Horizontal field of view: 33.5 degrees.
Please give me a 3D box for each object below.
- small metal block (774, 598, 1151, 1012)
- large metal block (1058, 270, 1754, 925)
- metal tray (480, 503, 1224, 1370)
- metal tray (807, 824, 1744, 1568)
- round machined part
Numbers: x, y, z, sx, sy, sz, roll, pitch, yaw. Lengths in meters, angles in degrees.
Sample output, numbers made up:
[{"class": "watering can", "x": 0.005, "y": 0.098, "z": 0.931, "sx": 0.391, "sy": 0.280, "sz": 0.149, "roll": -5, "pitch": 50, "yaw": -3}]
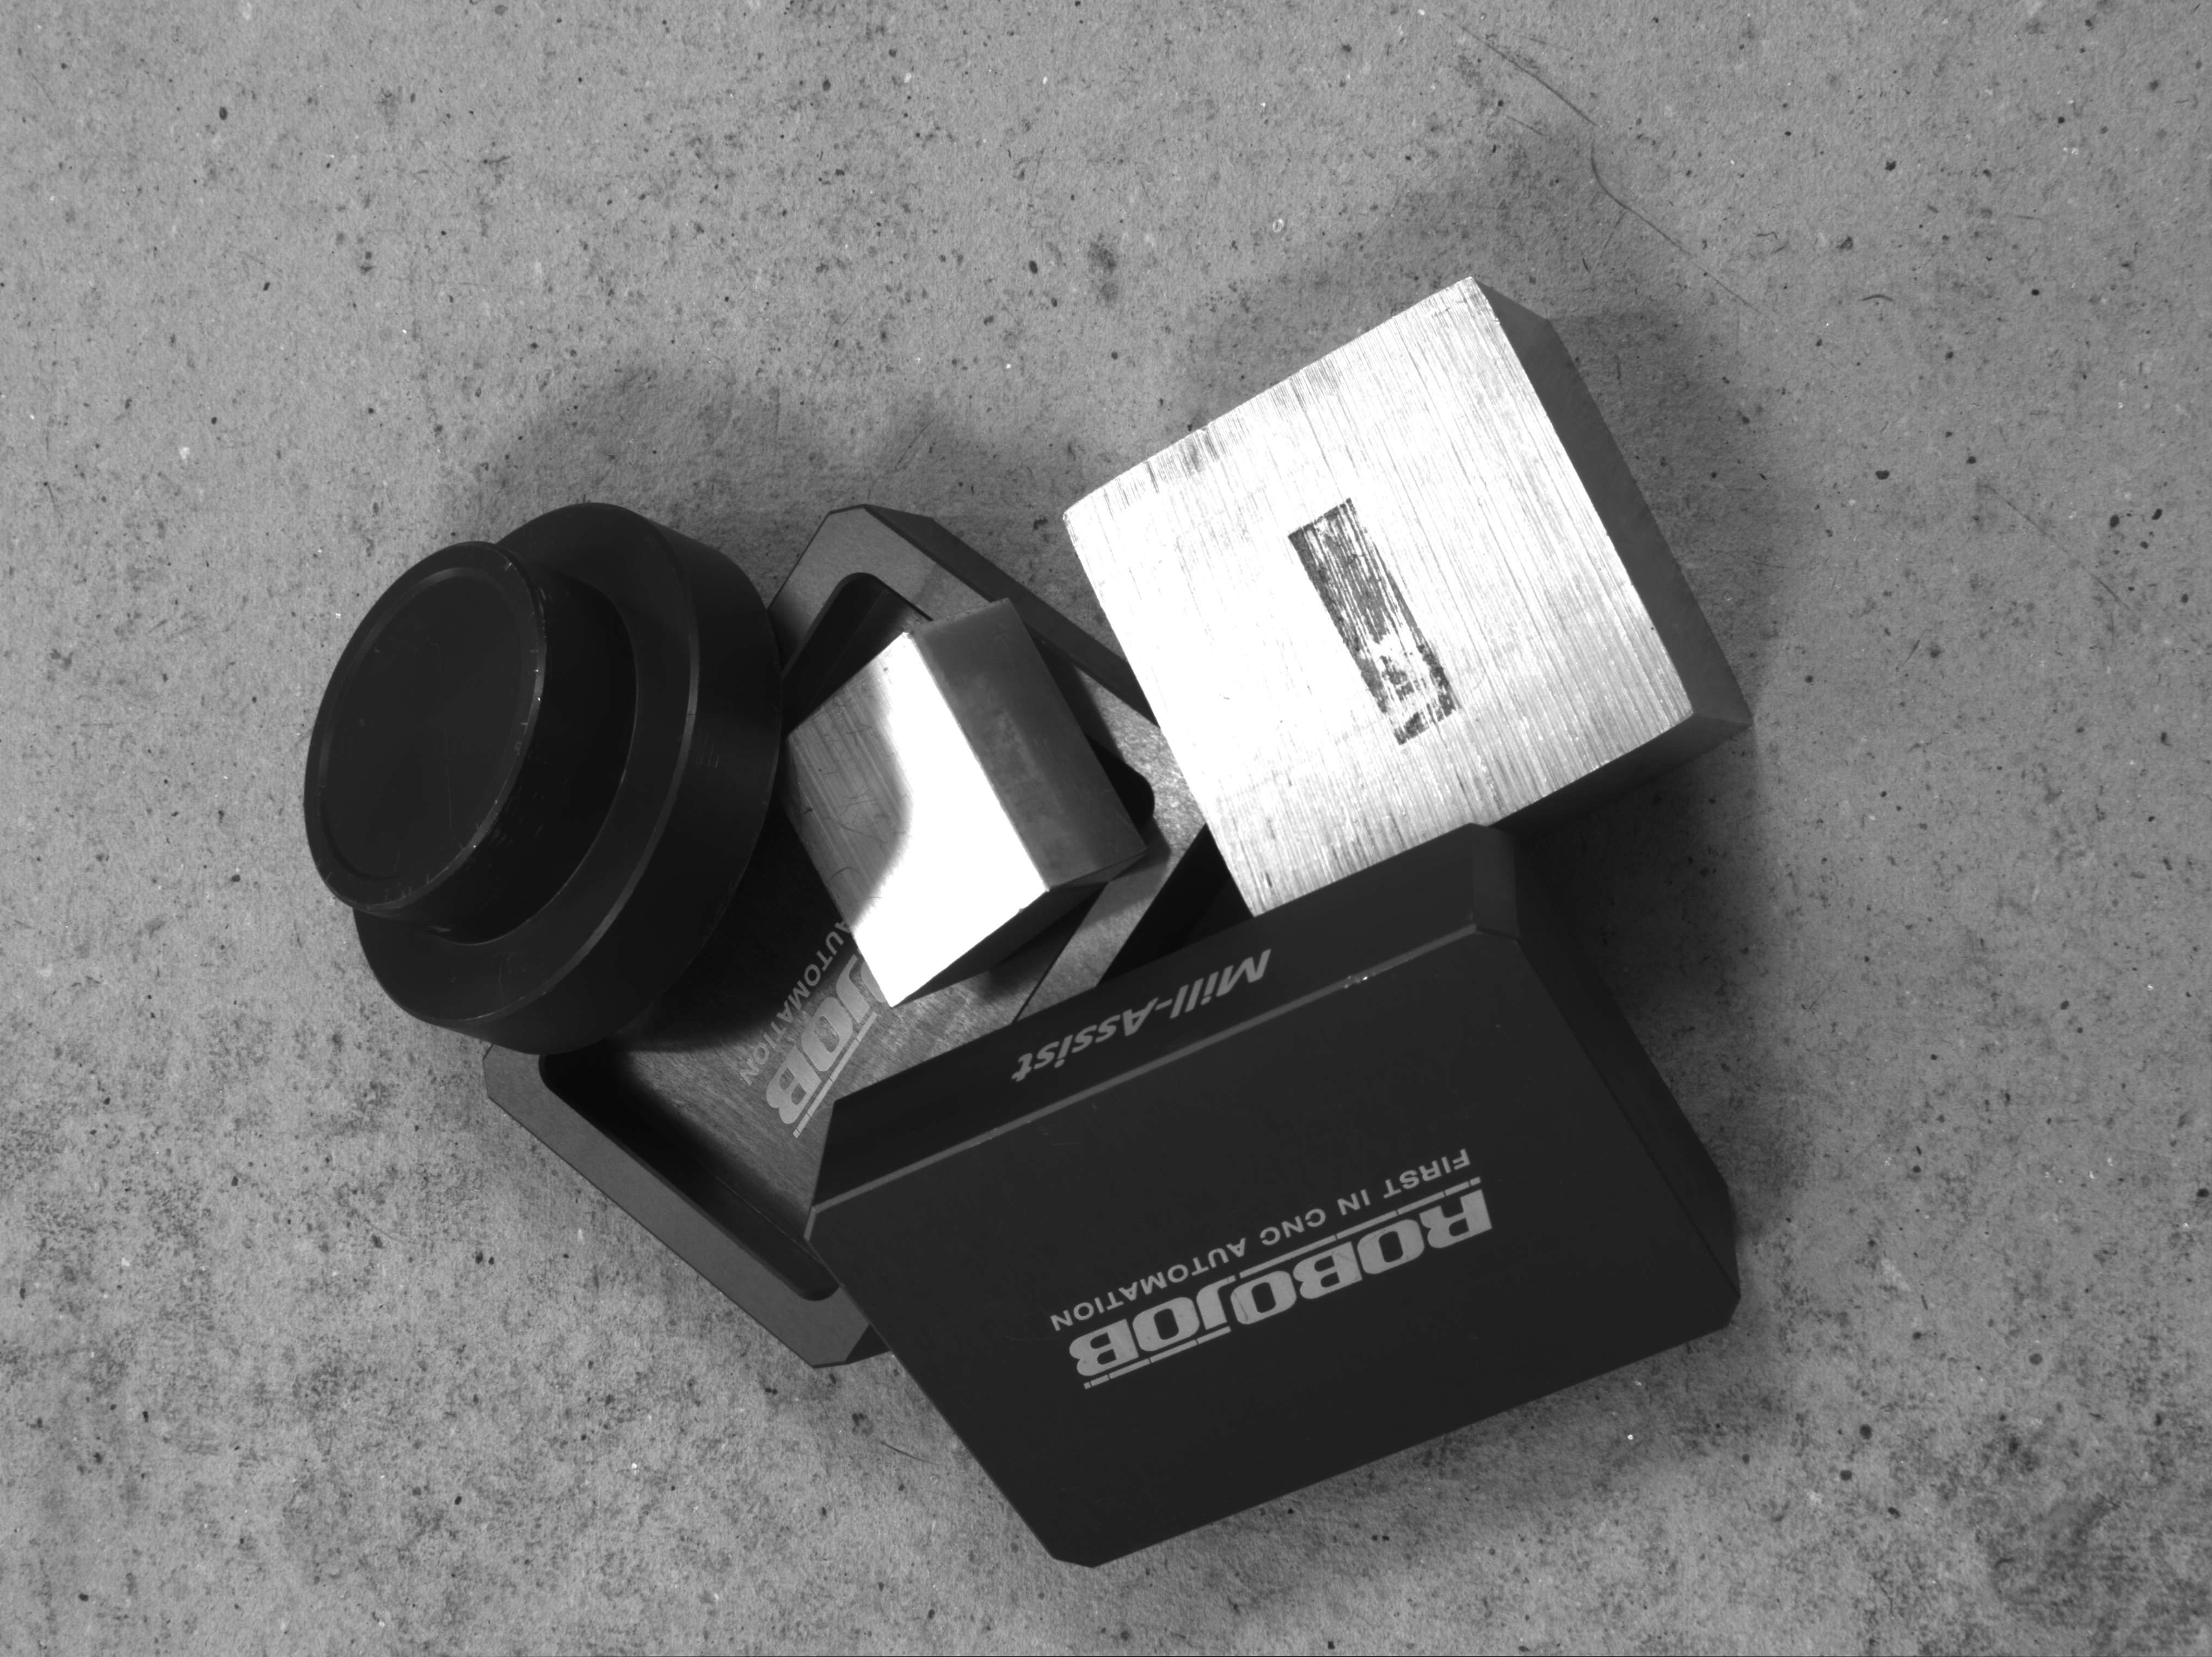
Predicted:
[{"class": "small metal block", "x": -0.027, "y": -0.004, "z": 0.632, "sx": 0.050, "sy": 0.025, "sz": 0.050, "roll": -38, "pitch": 78, "yaw": 45}, {"class": "large metal block", "x": 0.051, "y": -0.035, "z": 0.616, "sx": 0.080, "sy": 0.050, "sz": 0.080, "roll": -28, "pitch": 81, "yaw": 18}, {"class": "metal tray", "x": -0.042, "y": 0.019, "z": 0.659, "sx": 0.090, "sy": 0.030, "sz": 0.130, "roll": 36, "pitch": 102, "yaw": 16}, {"class": "metal tray", "x": 0.028, "y": 0.064, "z": 0.609, "sx": 0.130, "sy": 0.030, "sz": 0.090, "roll": -24, "pitch": 118, "yaw": 19}, {"class": "round machined part", "x": -0.106, "y": -0.012, "z": 0.654, "sx": 0.098, "sy": 0.042, "sz": 0.098, "roll": -21, "pitch": 59, "yaw": 39}]
